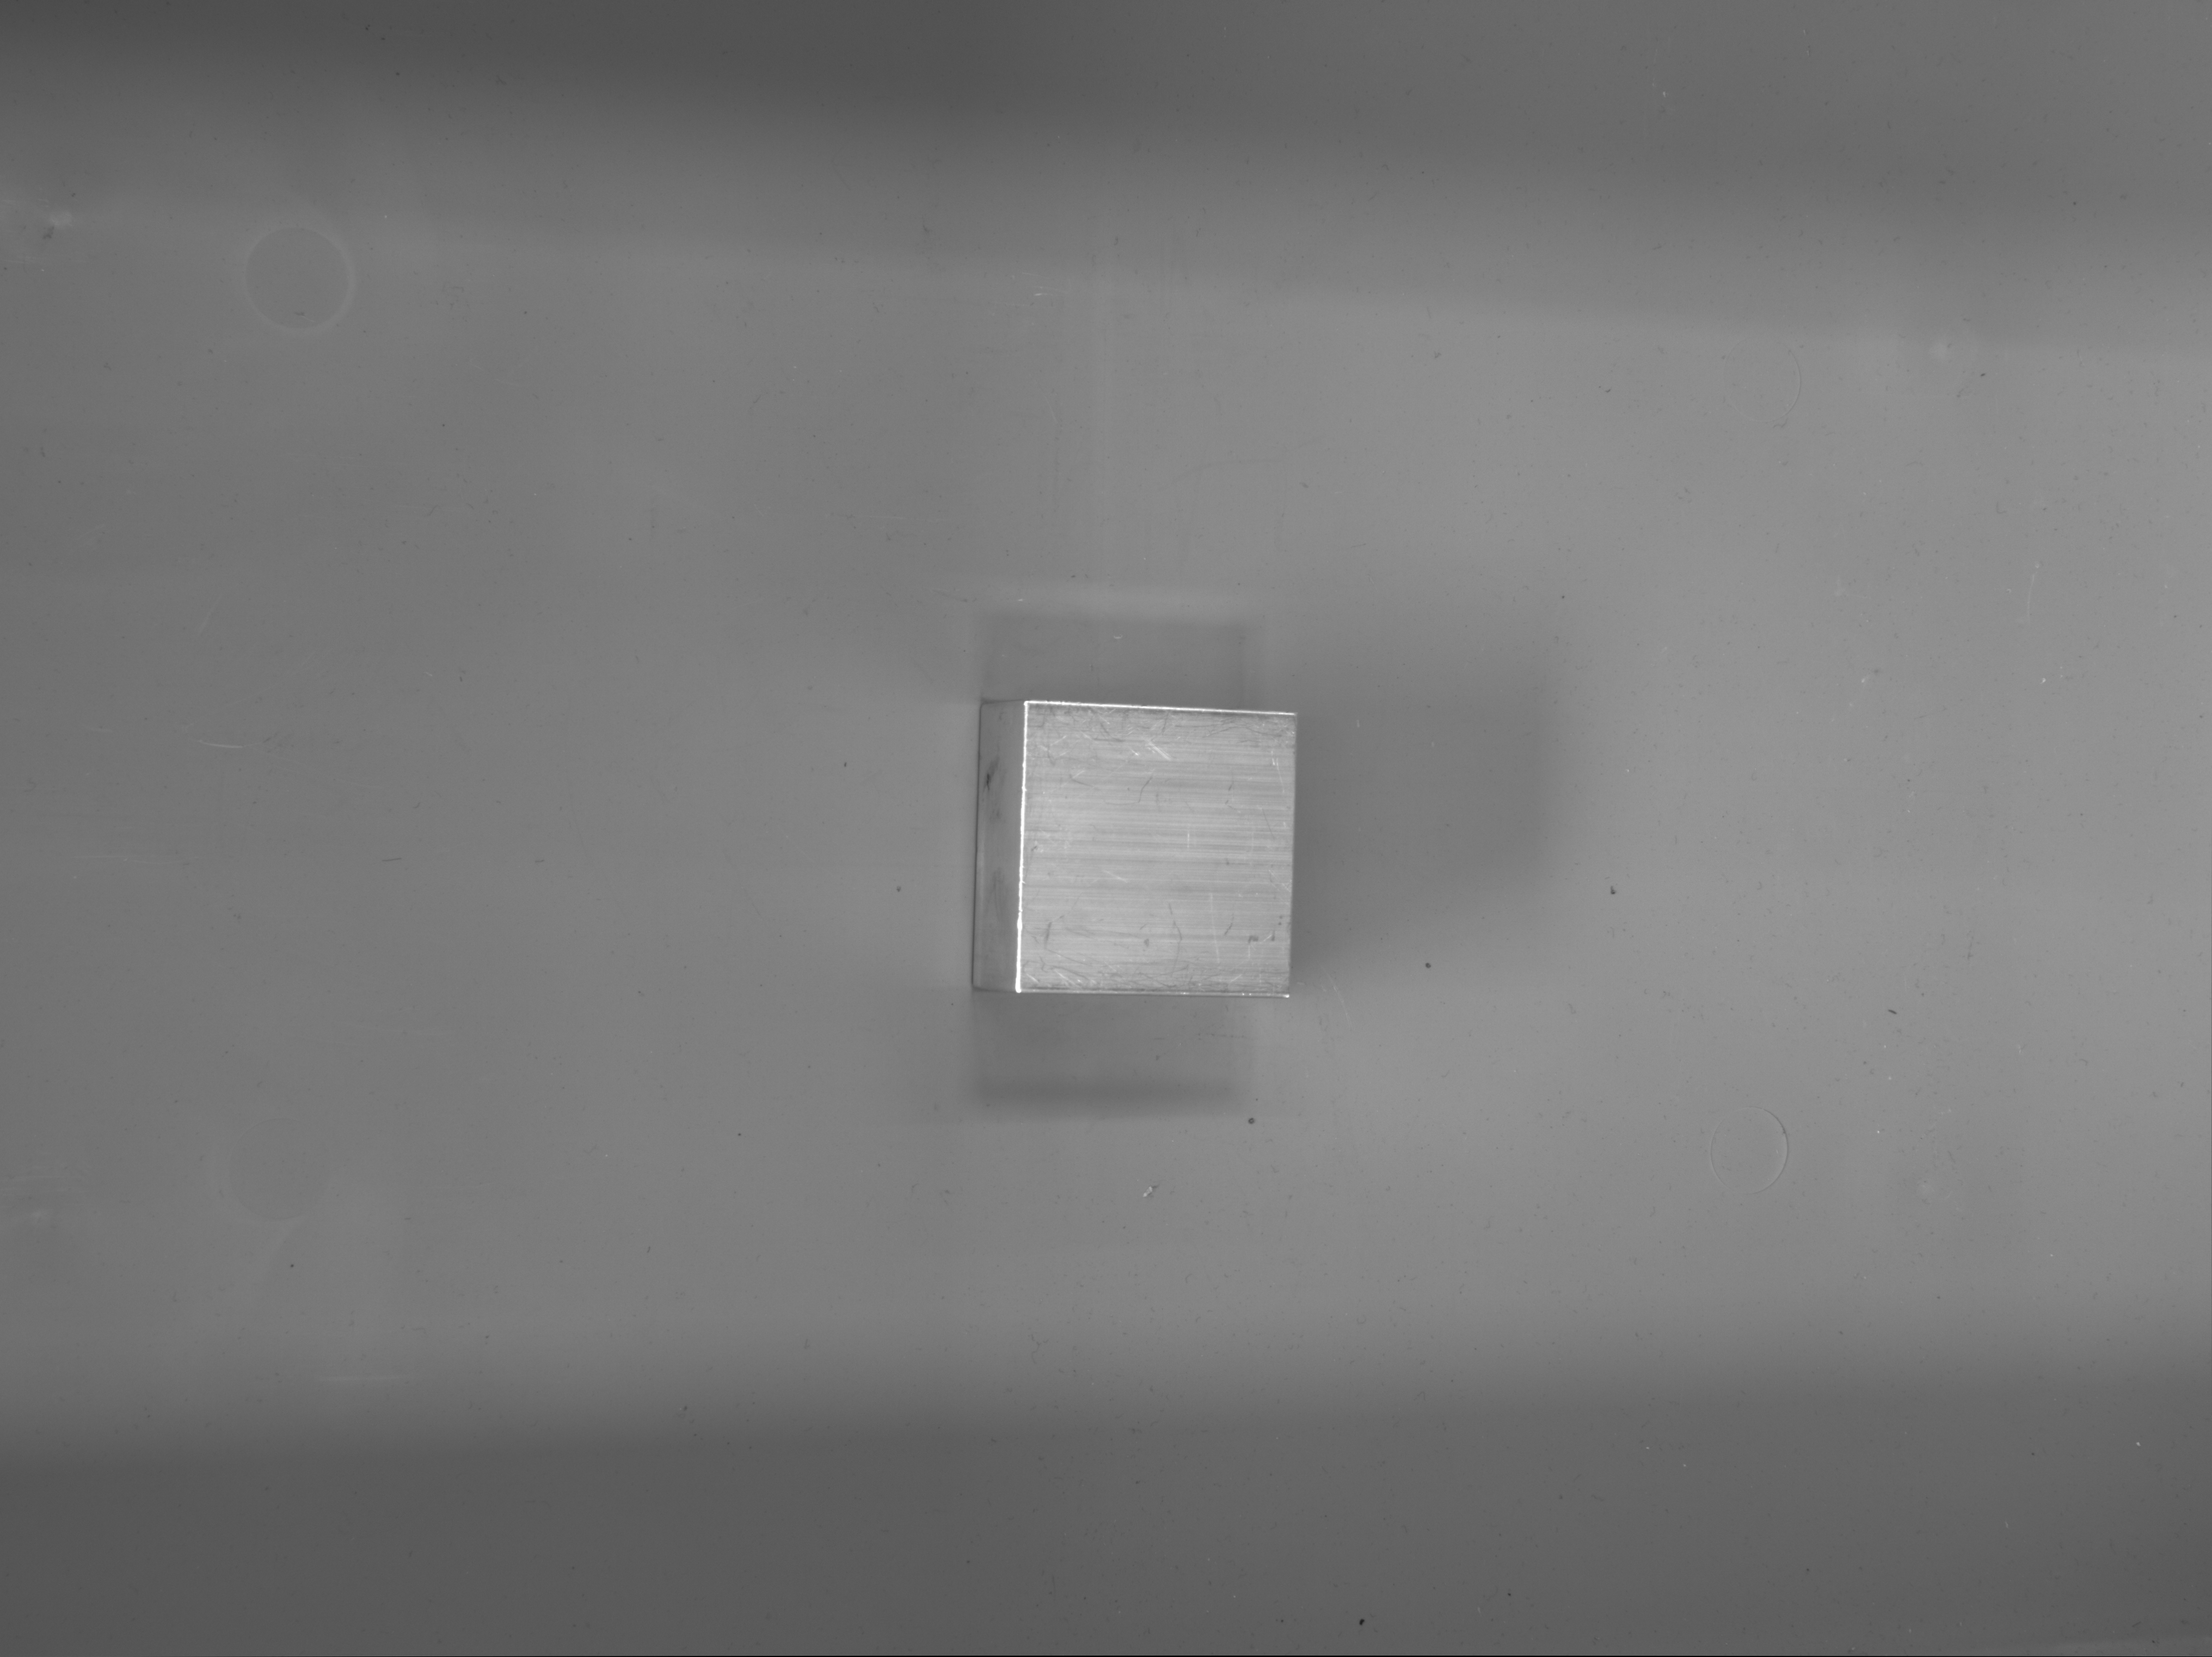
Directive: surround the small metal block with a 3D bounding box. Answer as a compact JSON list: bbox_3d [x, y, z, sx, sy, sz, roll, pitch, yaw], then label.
[{"bbox_3d":[0.005,0.004,0.642,0.050,0.025,0.050,2,89,-19],"label":"small metal block"}]
